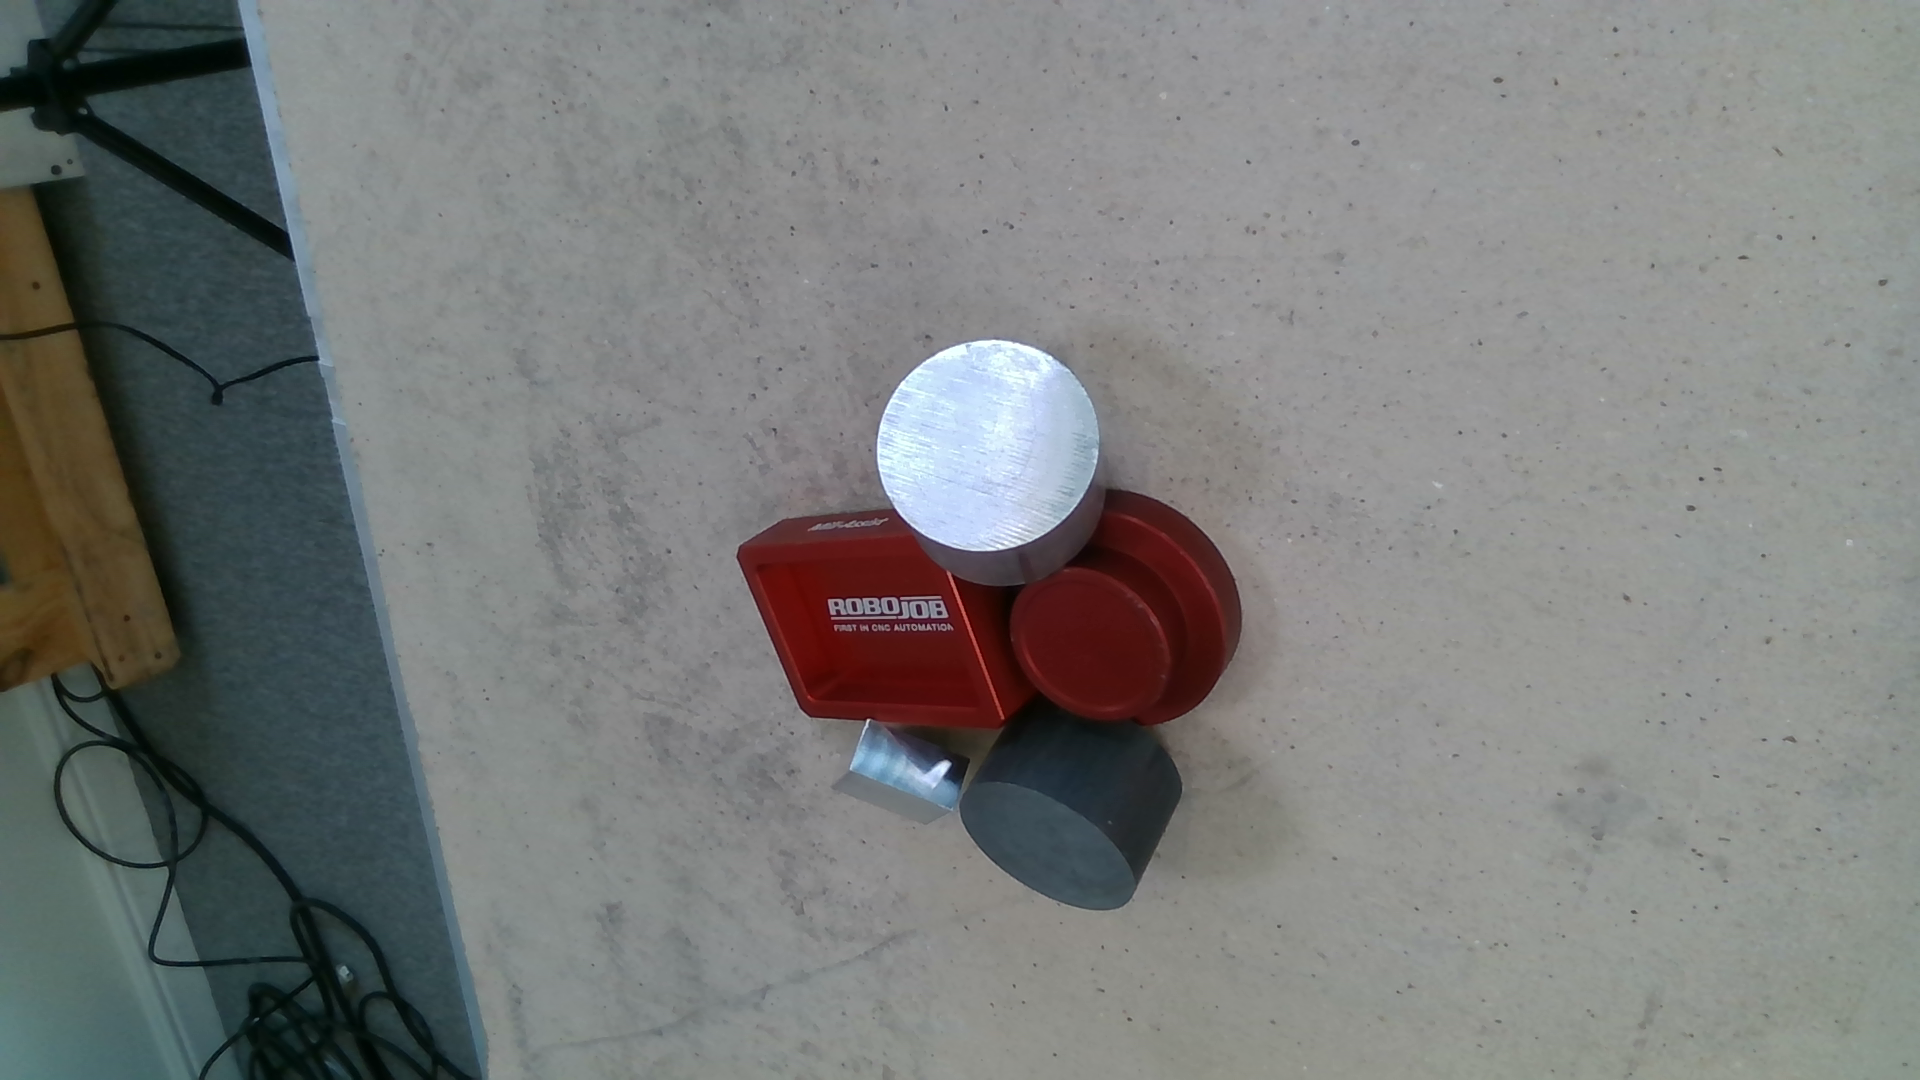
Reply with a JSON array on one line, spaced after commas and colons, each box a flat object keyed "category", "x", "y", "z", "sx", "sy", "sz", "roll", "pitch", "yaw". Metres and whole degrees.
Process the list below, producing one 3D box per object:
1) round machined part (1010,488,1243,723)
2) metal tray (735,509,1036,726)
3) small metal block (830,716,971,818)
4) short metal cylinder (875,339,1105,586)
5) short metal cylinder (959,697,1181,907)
[{"category": "round machined part", "x": 0.059, "y": 0.032, "z": 0.551, "sx": 0.098, "sy": 0.042, "sz": 0.098, "roll": 14, "pitch": 122, "yaw": 25}, {"category": "metal tray", "x": -0.033, "y": 0.033, "z": 0.601, "sx": 0.130, "sy": 0.030, "sz": 0.090, "roll": -4, "pitch": 113, "yaw": 43}, {"category": "small metal block", "x": -0.028, "y": 0.107, "z": 0.634, "sx": 0.050, "sy": 0.025, "sz": 0.050, "roll": 23, "pitch": 157, "yaw": -8}, {"category": "short metal cylinder", "x": 0.013, "y": -0.028, "z": 0.513, "sx": 0.080, "sy": 0.080, "sz": 0.050, "roll": 29, "pitch": 170, "yaw": 16}, {"category": "short metal cylinder", "x": 0.047, "y": 0.109, "z": 0.582, "sx": 0.080, "sy": 0.050, "sz": 0.080, "roll": 22, "pitch": 142, "yaw": 18}]
